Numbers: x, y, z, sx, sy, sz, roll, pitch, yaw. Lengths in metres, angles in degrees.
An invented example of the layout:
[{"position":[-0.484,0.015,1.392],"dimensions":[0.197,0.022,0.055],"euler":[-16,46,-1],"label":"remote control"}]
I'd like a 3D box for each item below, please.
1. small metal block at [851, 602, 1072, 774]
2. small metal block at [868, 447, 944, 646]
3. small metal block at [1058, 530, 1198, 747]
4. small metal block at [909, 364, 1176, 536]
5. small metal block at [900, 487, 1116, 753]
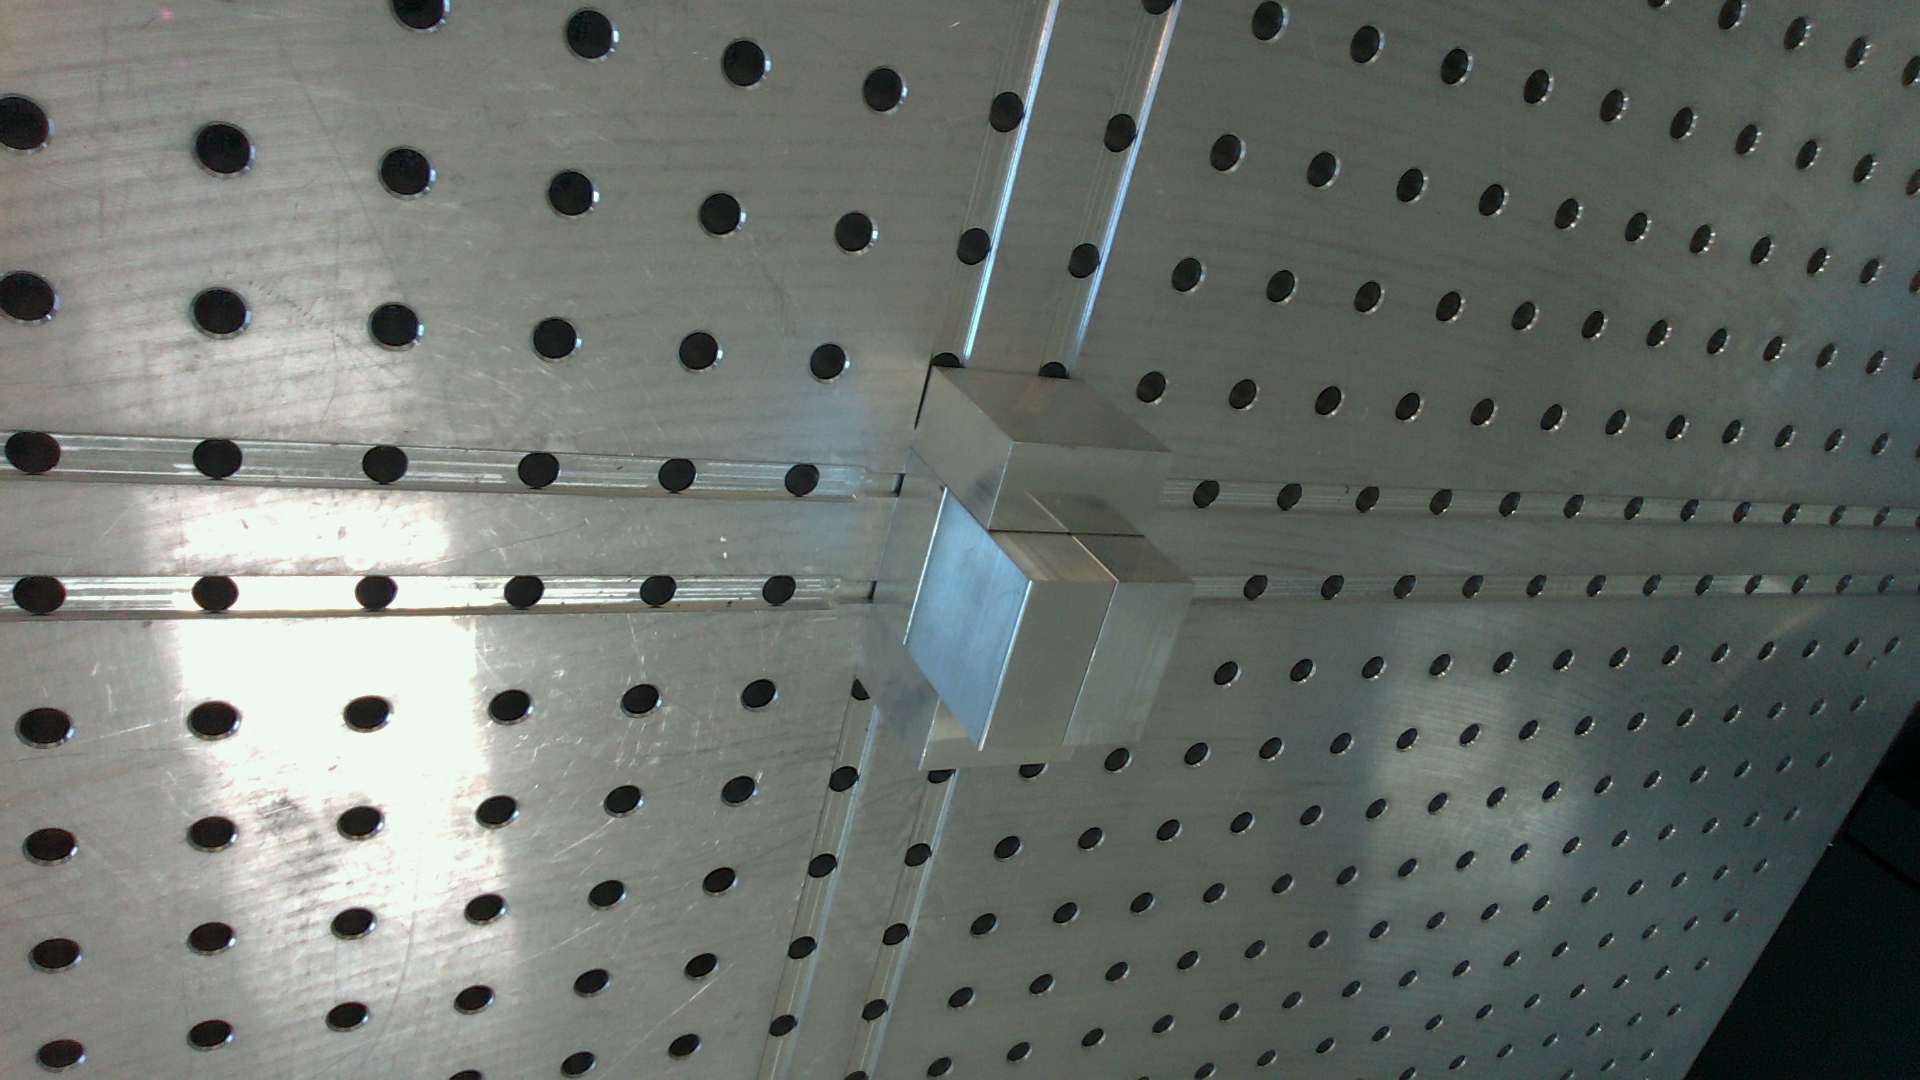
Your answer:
[{"position":[0.003,0.042,0.402],"dimensions":[0.050,0.050,0.025],"euler":[1,118,-29],"label":"small metal block"},{"position":[0.006,0.003,0.396],"dimensions":[0.050,0.025,0.050],"euler":[2,117,-28],"label":"small metal block"},{"position":[0.034,0.021,0.374],"dimensions":[0.025,0.050,0.050],"euler":[2,117,-28],"label":"small metal block"},{"position":[0.021,-0.024,0.371],"dimensions":[0.050,0.050,0.025],"euler":[2,118,-29],"label":"small metal block"},{"position":[0.011,0.020,0.361],"dimensions":[0.025,0.050,0.050],"euler":[1,118,-29],"label":"small metal block"}]
